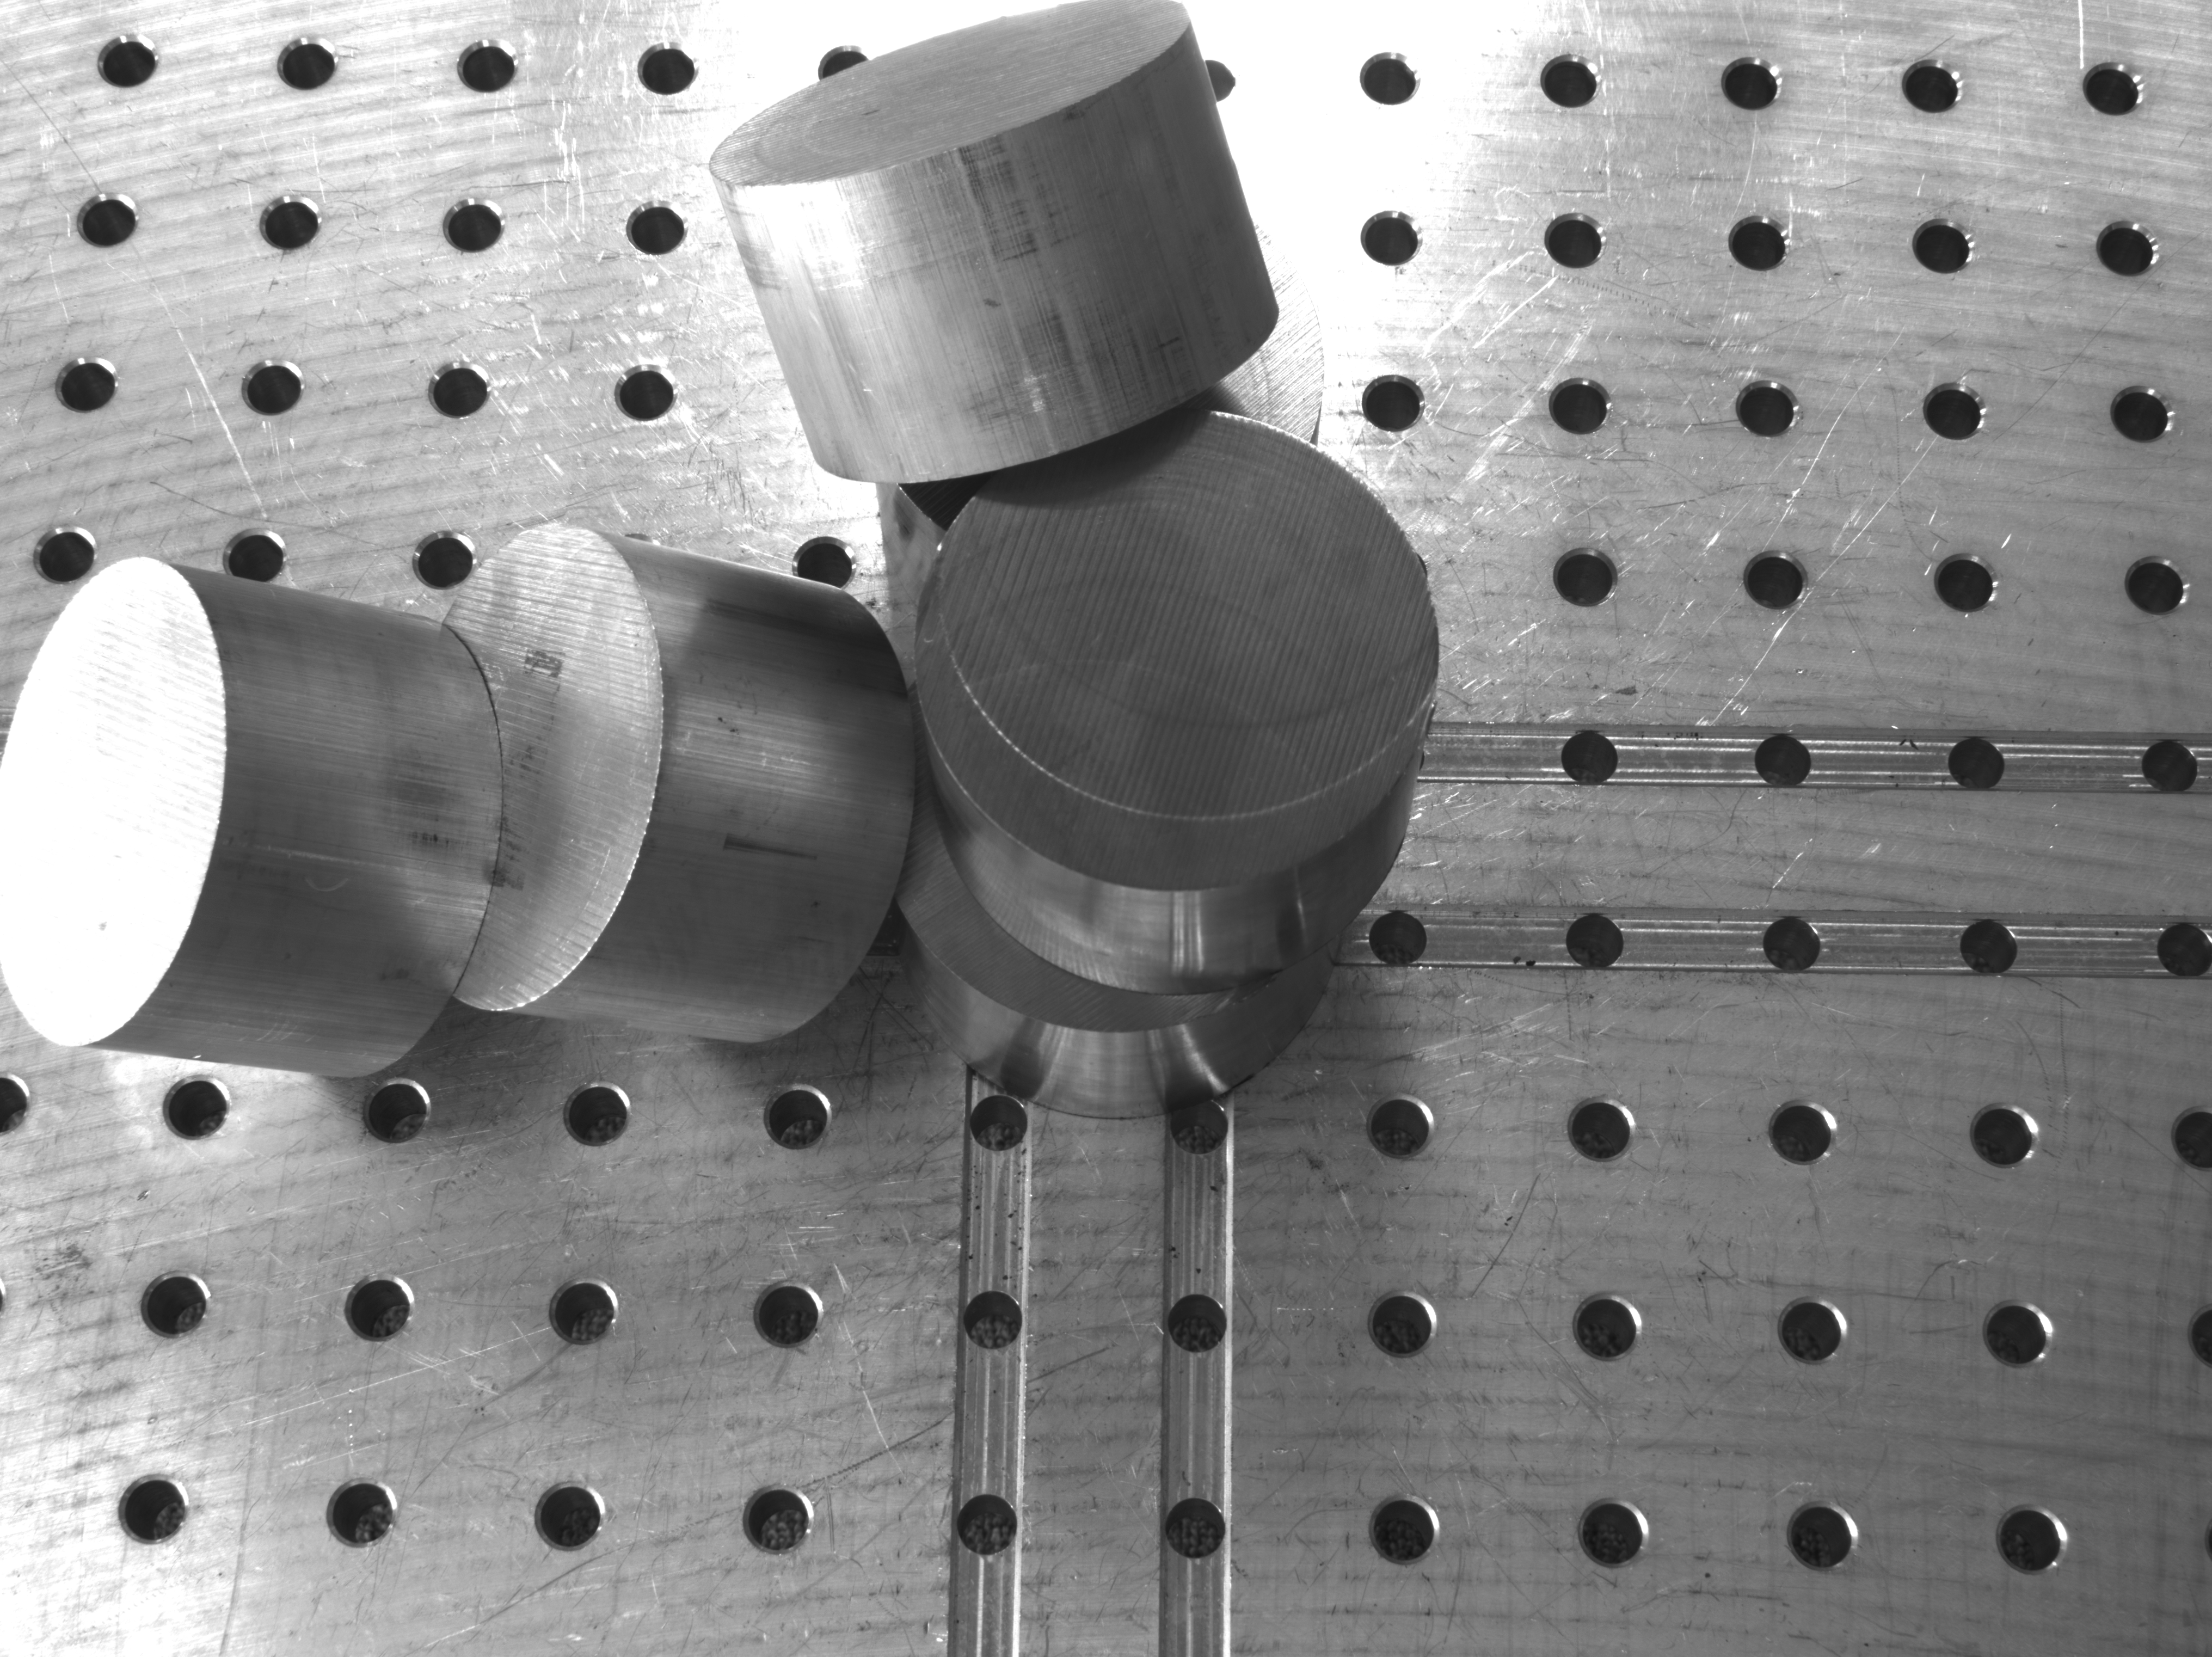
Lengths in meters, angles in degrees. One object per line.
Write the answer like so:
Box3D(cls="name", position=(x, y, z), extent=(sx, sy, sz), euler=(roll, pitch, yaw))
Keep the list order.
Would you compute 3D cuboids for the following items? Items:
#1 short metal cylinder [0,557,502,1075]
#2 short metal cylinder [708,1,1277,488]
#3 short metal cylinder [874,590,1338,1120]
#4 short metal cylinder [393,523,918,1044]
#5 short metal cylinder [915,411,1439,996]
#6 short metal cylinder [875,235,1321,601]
Box3D(cls="short metal cylinder", position=(-0.144, -0.001, 0.612), extent=(0.050, 0.080, 0.080), euler=(11, 63, -41))
Box3D(cls="short metal cylinder", position=(-0.018, -0.095, 0.593), extent=(0.080, 0.080, 0.050), euler=(-23, 115, -8))
Box3D(cls="short metal cylinder", position=(0.002, 0.005, 0.632), extent=(0.080, 0.050, 0.080), euler=(0, 70, 0))
Box3D(cls="short metal cylinder", position=(-0.076, -0.007, 0.613), extent=(0.050, 0.080, 0.080), euler=(11, 63, -40))
Box3D(cls="short metal cylinder", position=(0.011, -0.019, 0.586), extent=(0.080, 0.050, 0.080), euler=(0, 70, 0))
Box3D(cls="short metal cylinder", position=(-0.003, -0.071, 0.660), extent=(0.080, 0.050, 0.080), euler=(0, 70, 0))
